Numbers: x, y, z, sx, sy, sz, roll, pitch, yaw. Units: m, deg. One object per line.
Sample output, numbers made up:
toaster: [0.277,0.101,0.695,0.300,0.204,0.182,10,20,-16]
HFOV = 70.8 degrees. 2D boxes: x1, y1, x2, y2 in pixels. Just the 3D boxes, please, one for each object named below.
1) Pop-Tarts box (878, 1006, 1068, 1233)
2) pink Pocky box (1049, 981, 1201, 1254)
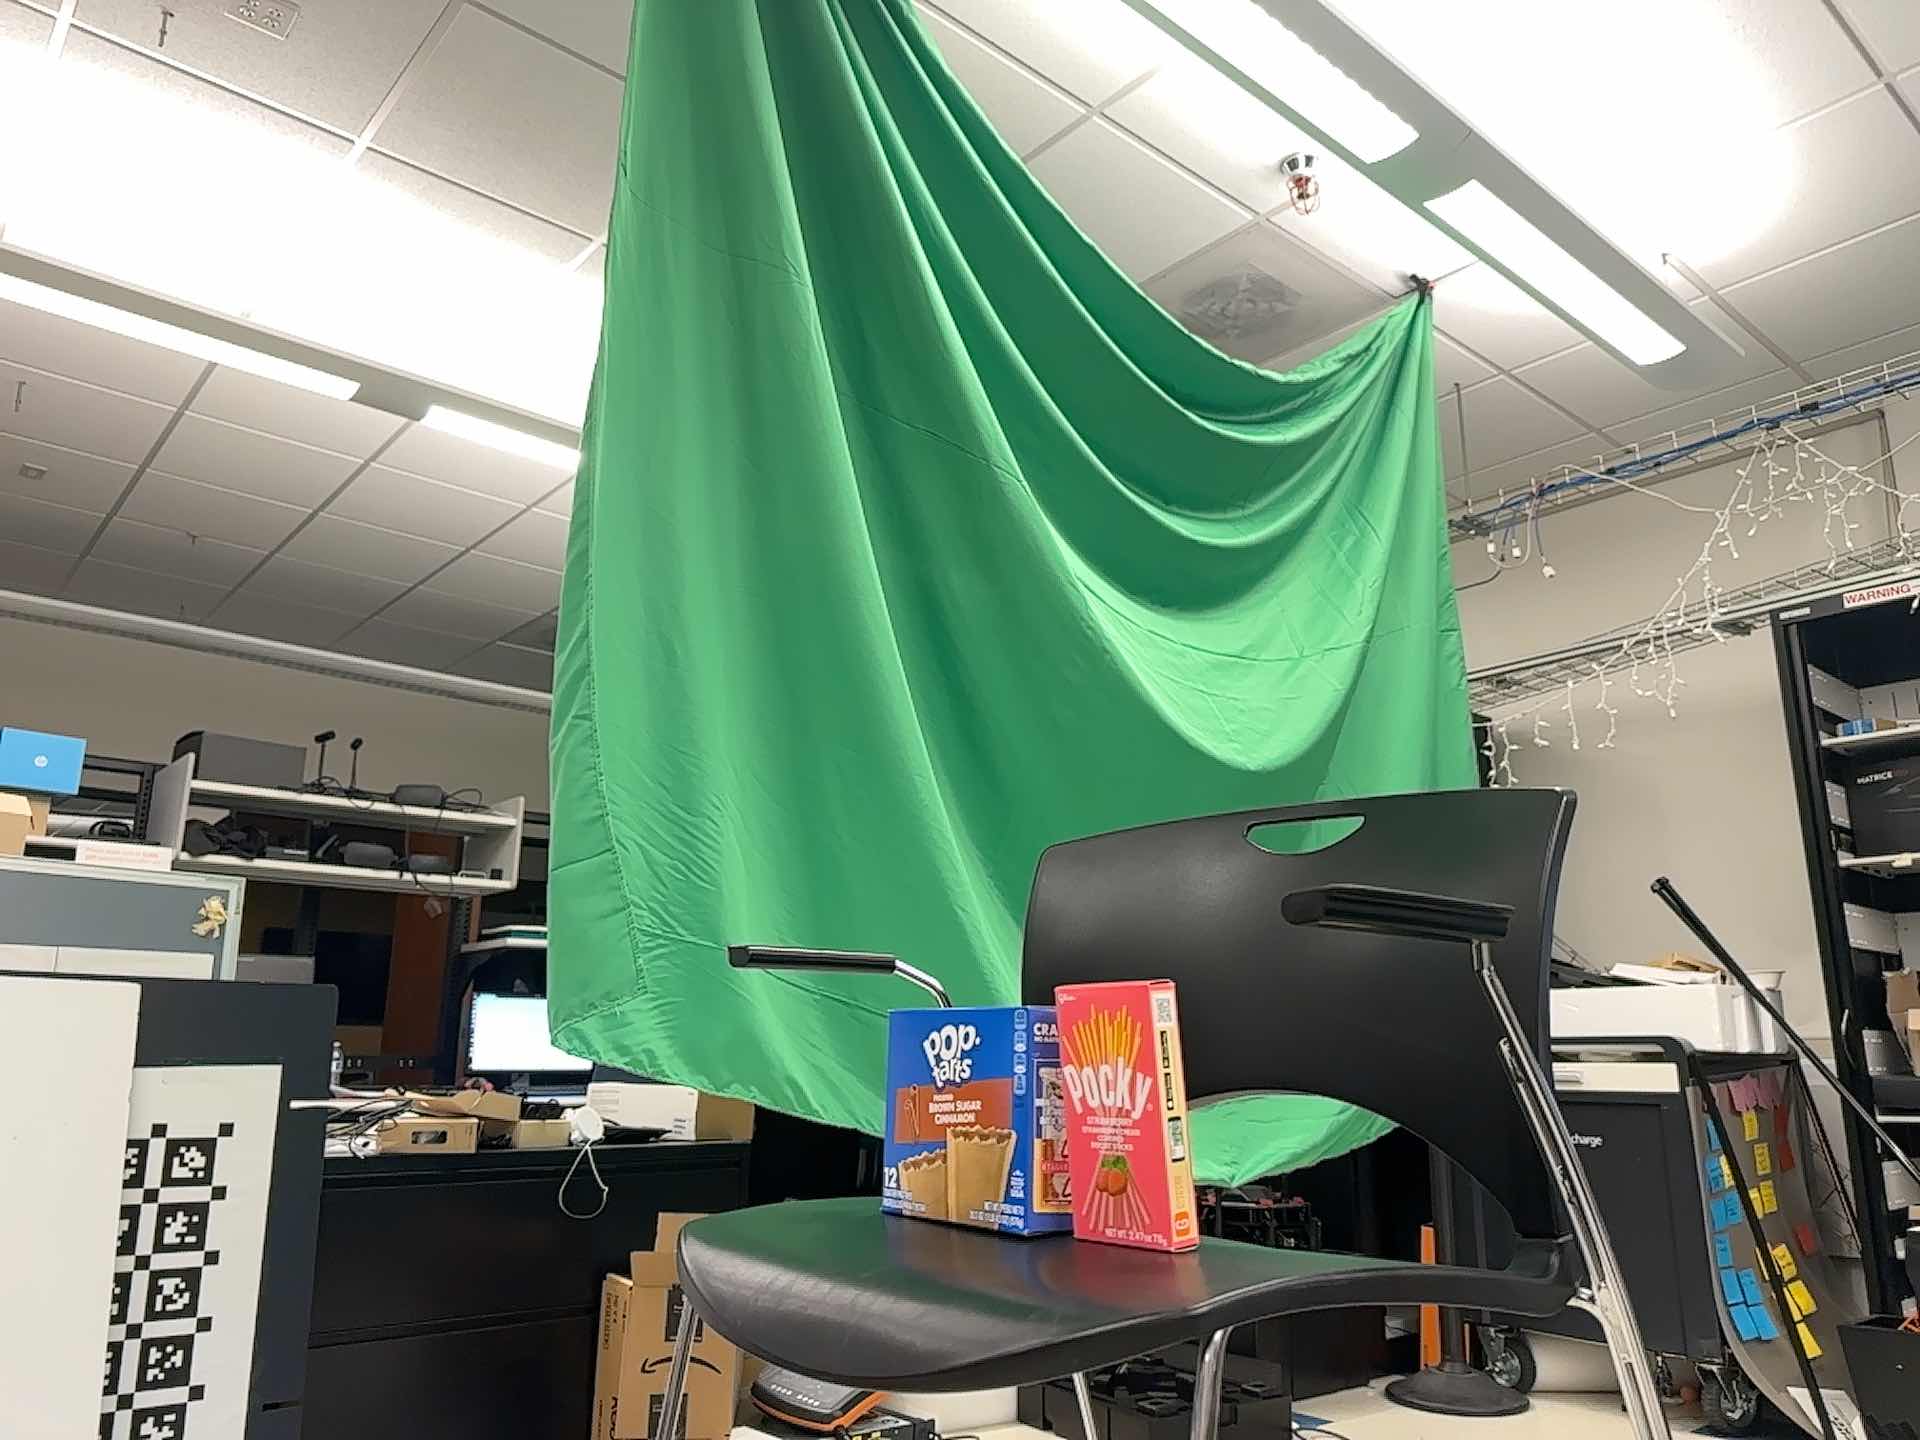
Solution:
Pop-Tarts box: [0.024,0.271,0.938,0.075,0.135,0.161,12,-17,-39]
pink Pocky box: [0.098,0.238,0.819,0.029,0.155,0.084,6,-13,-44]
